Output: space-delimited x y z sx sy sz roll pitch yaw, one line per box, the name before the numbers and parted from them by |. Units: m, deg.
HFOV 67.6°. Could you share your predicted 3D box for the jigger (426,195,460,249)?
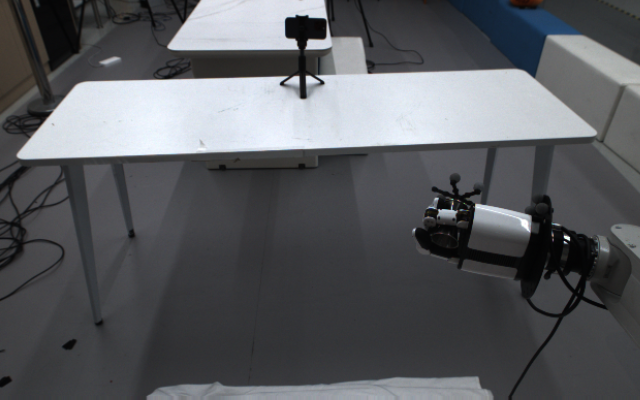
jigger | 0.207 0.033 0.766 0.043 0.043 0.071 16 58 19
